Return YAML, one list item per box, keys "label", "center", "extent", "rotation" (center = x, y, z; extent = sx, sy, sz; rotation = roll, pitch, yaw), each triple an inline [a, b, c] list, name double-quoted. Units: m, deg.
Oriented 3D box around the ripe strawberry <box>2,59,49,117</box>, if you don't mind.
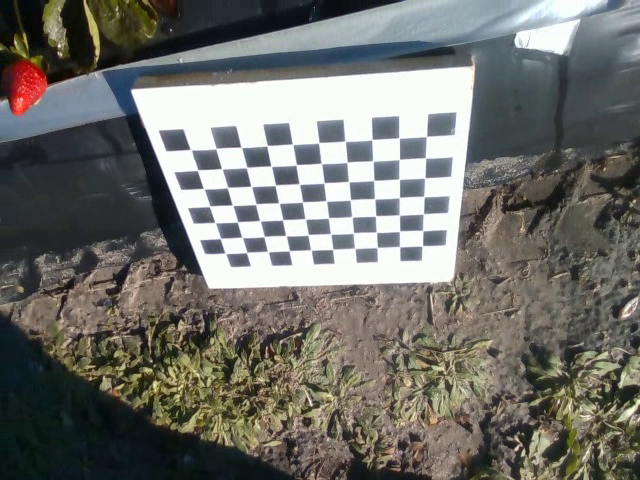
- label: "ripe strawberry"
  center: [-0.212, -0.104, 0.415]
  extent: [0.036, 0.046, 0.038]
  rotation: [-1, -29, 10]
